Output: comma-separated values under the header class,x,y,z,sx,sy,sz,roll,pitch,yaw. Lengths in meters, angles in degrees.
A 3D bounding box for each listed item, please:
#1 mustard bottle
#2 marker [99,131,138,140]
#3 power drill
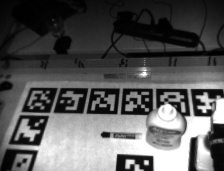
class,x,y,z,sx,sy,sz,roll,pitch,yaw
mustard bottle,0.131,0.110,0.563,0.095,0.193,0.058,9,58,14
marker,0.019,0.151,0.657,0.120,0.020,0.019,1,58,9
power drill,0.227,0.154,0.500,0.057,0.188,0.184,12,57,15
